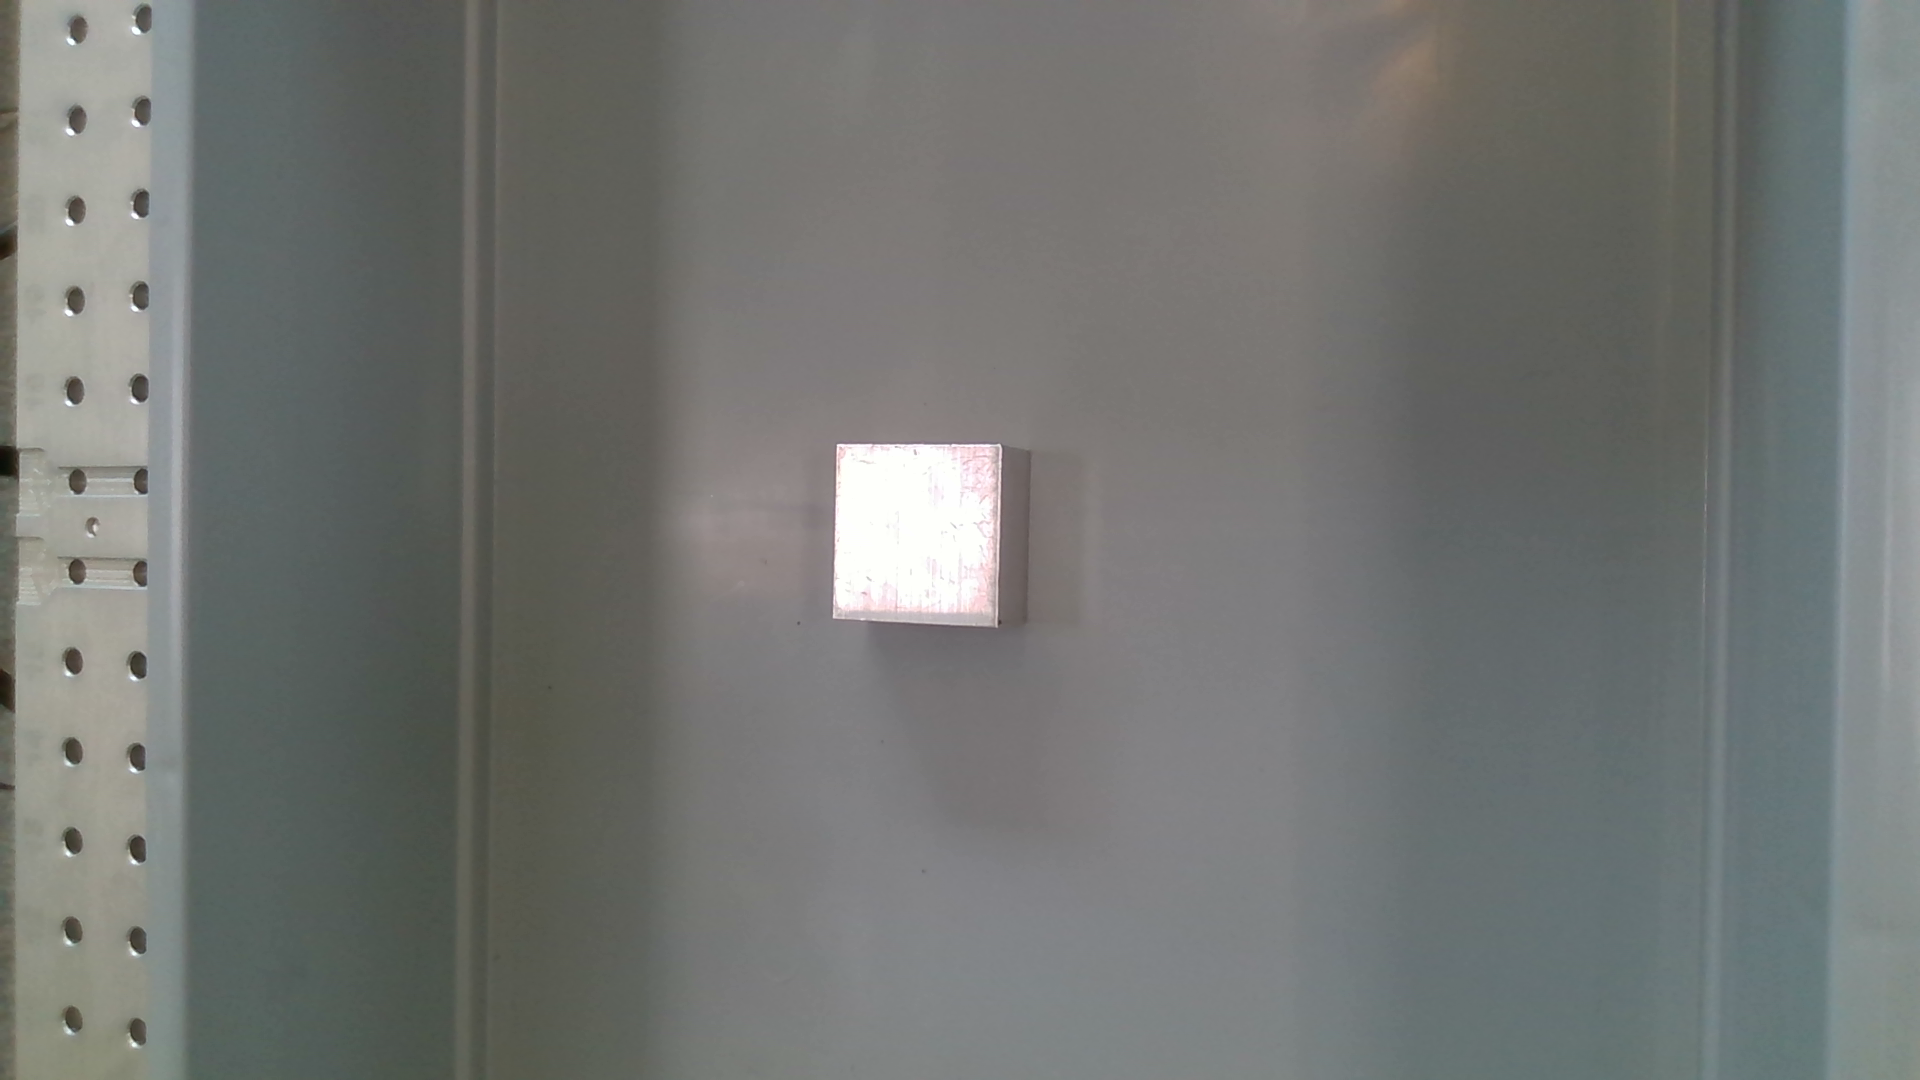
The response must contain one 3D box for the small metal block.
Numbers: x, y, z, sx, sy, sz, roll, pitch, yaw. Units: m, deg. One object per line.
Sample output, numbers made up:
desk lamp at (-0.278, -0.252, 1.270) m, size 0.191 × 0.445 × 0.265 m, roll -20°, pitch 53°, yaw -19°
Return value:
small metal block at (-0.008, -0.002, 0.393) m, size 0.050 × 0.025 × 0.050 m, roll 2°, pitch 91°, yaw 20°
